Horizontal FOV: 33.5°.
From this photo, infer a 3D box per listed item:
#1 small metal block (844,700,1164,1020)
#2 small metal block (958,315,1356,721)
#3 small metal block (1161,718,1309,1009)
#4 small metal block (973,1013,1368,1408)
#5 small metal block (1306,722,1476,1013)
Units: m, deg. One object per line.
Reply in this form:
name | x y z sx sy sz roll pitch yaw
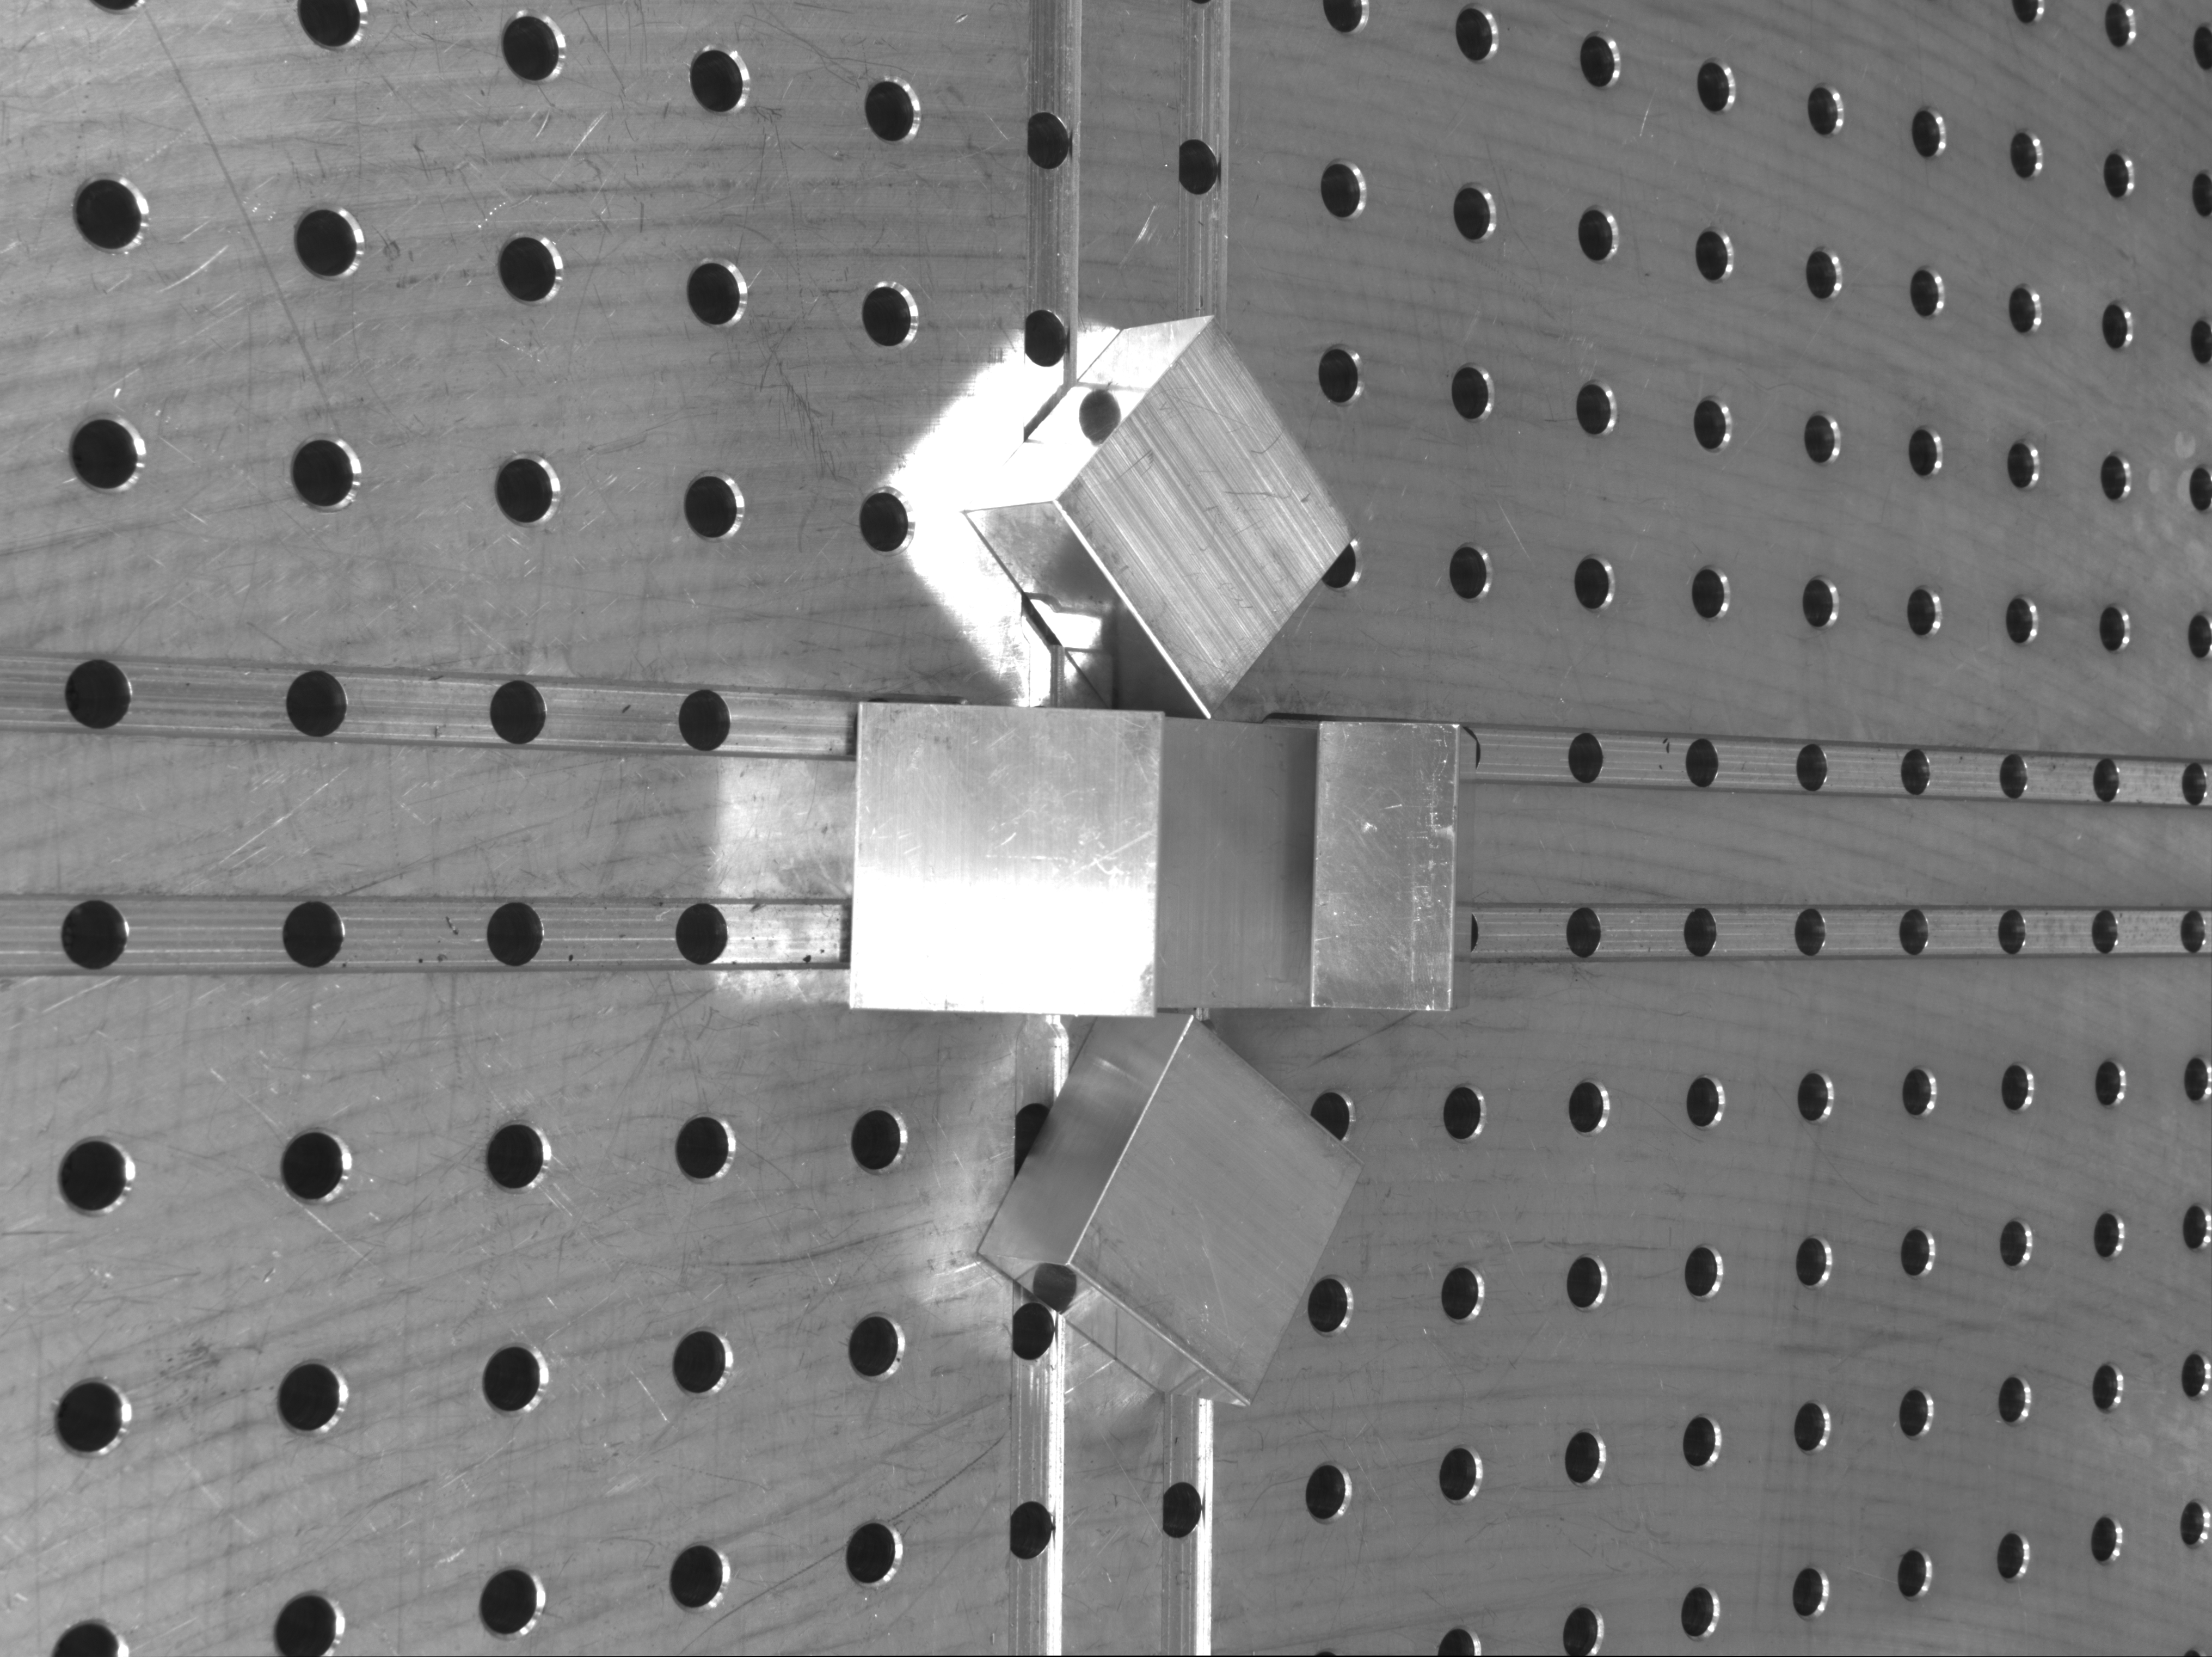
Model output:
small metal block | -0.017 0.005 0.609 0.050 0.025 0.050 2 89 -3
small metal block | 0.010 -0.054 0.647 0.050 0.025 0.050 -52 119 -28
small metal block | 0.011 0.006 0.647 0.050 0.025 0.050 2 88 -40
small metal block | 0.012 0.067 0.648 0.050 0.025 0.050 41 66 -30
small metal block | 0.052 0.008 0.665 0.050 0.025 0.050 13 79 -80
